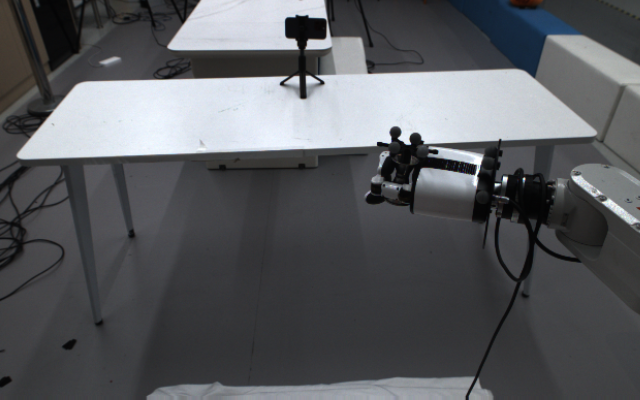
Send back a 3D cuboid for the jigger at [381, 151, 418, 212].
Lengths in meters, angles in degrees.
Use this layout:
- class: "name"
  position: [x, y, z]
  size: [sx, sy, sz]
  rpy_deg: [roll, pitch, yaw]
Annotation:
- class: "jigger"
  position: [0.124, -0.030, 0.732]
  size: [0.043, 0.071, 0.043]
  rpy_deg: [6, 26, -3]
